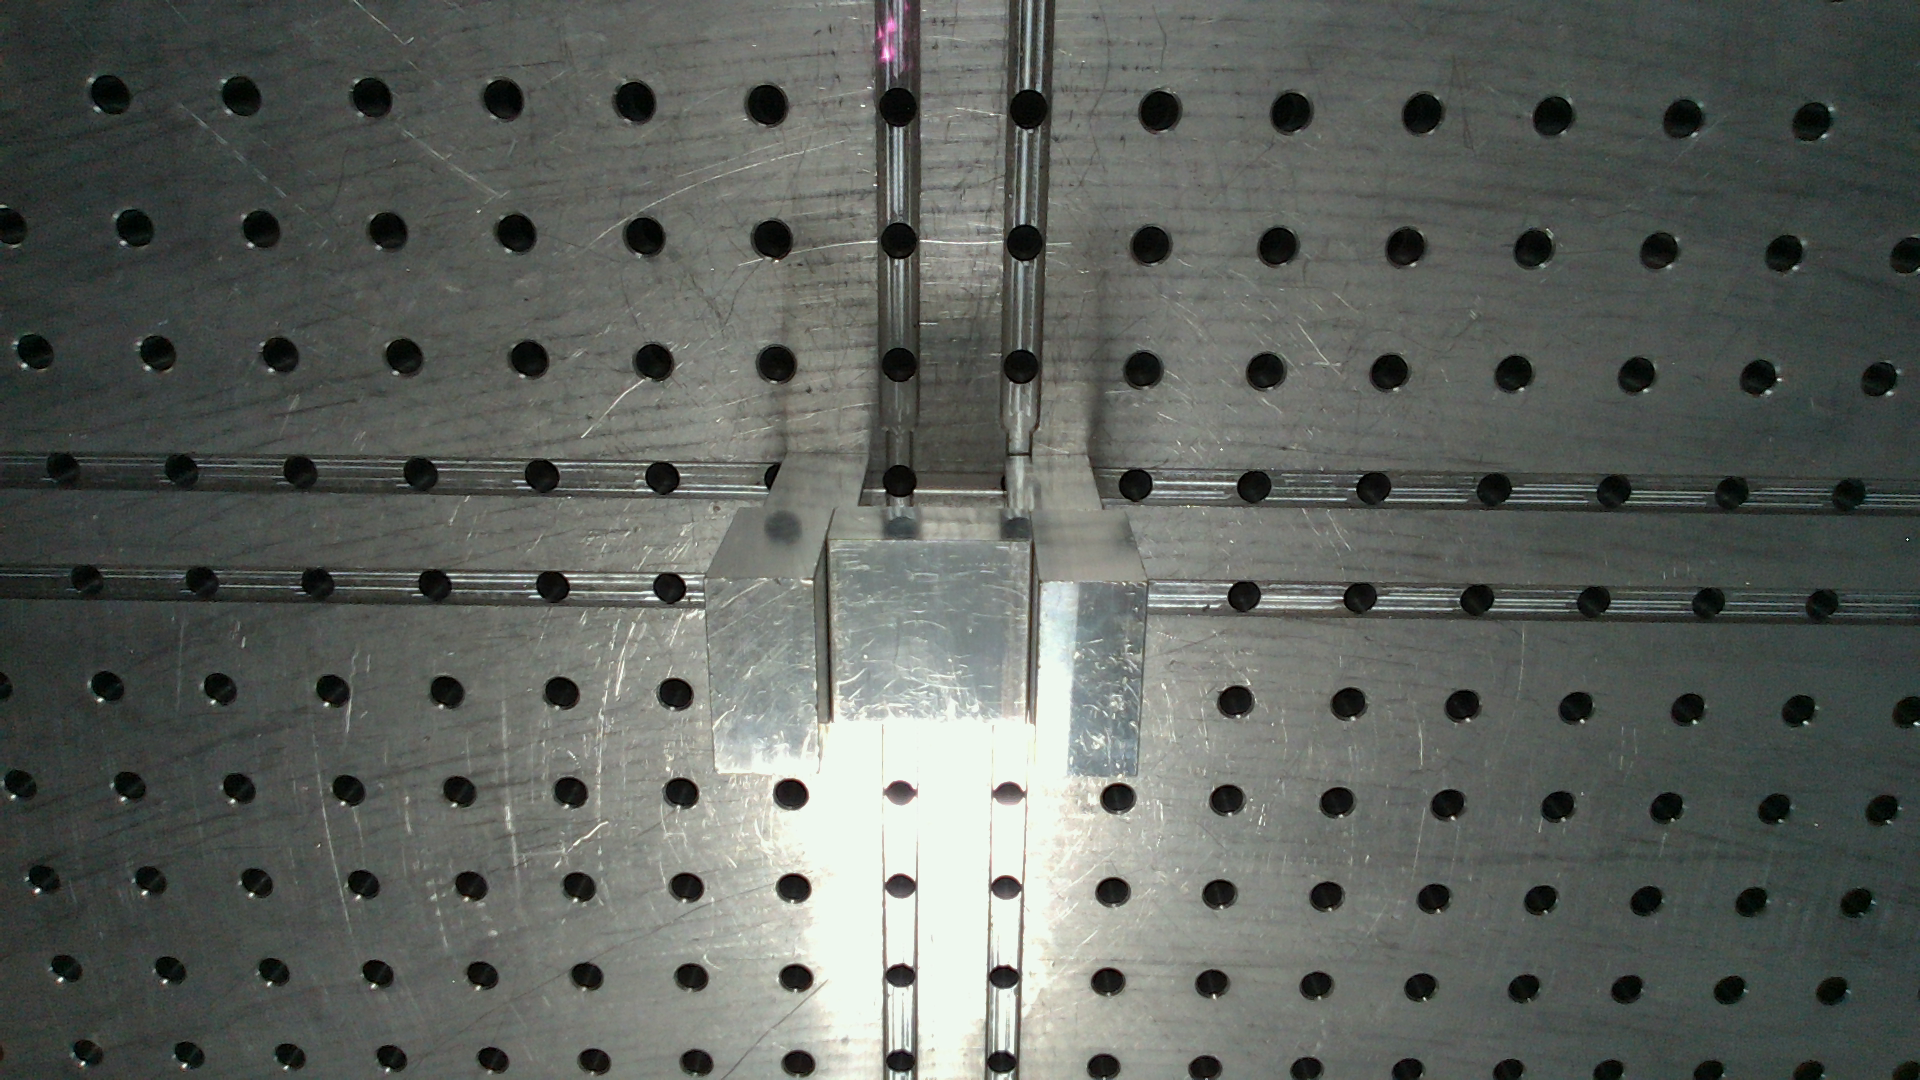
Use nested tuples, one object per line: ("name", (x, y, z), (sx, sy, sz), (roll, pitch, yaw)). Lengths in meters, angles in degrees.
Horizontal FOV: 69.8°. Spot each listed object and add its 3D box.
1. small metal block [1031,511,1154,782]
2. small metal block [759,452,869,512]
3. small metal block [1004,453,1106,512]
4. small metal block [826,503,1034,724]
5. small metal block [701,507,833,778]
("small metal block", (0.031, 0.025, 0.338), (0.025, 0.050, 0.050), (1, 110, 0))
("small metal block", (-0.039, 0.007, 0.385), (0.025, 0.050, 0.050), (1, 110, 0))
("small metal block", (0.026, 0.007, 0.385), (0.025, 0.050, 0.050), (-1, 110, 0))
("small metal block", (-0.007, 0.018, 0.351), (0.050, 0.025, 0.050), (1, 110, 0))
("small metal block", (-0.045, 0.024, 0.337), (0.025, 0.050, 0.050), (1, 110, 0))
